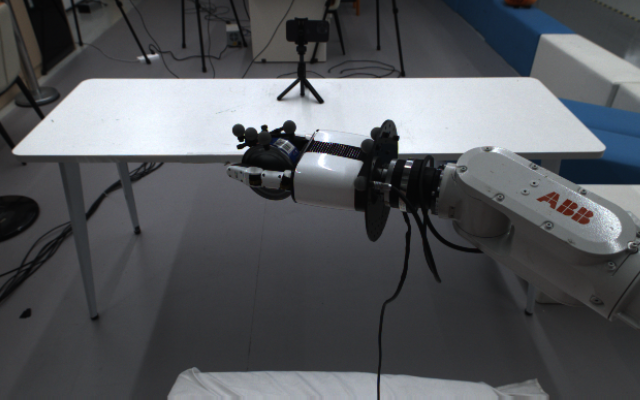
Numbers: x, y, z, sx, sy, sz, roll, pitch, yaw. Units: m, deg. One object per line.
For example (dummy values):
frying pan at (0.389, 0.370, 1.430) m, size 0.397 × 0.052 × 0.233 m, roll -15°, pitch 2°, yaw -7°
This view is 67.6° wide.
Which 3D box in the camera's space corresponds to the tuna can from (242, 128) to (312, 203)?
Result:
tuna can at (-0.063, -0.044, 0.676) m, size 0.085 × 0.085 × 0.034 m, roll 14°, pitch 34°, yaw 17°
